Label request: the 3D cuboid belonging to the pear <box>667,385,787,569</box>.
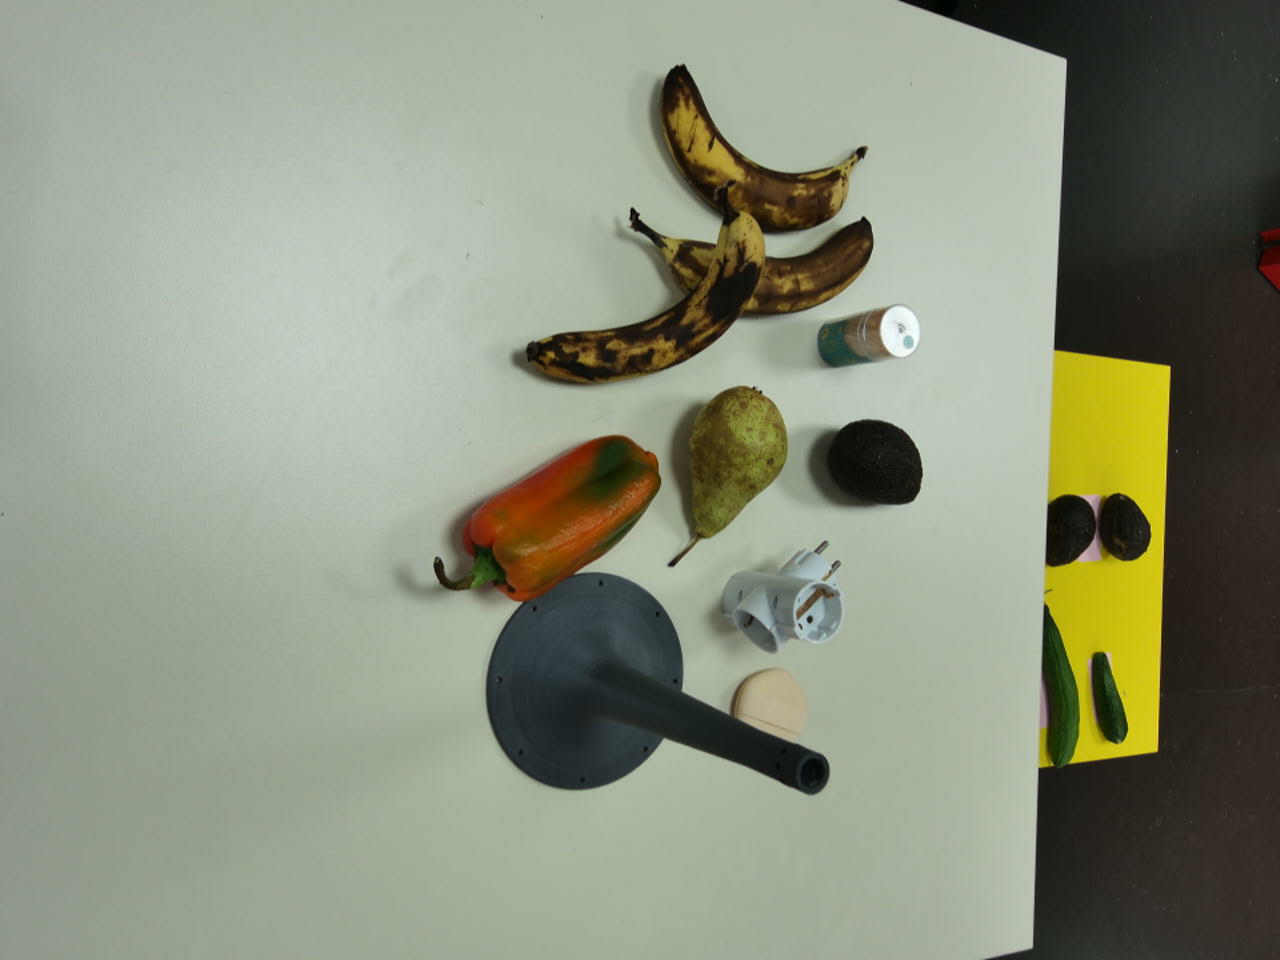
[{"bbox_3d":[0.070,-0.003,0.717,0.071,0.075,0.128,-4,93,-29],"label":"pear"}]
